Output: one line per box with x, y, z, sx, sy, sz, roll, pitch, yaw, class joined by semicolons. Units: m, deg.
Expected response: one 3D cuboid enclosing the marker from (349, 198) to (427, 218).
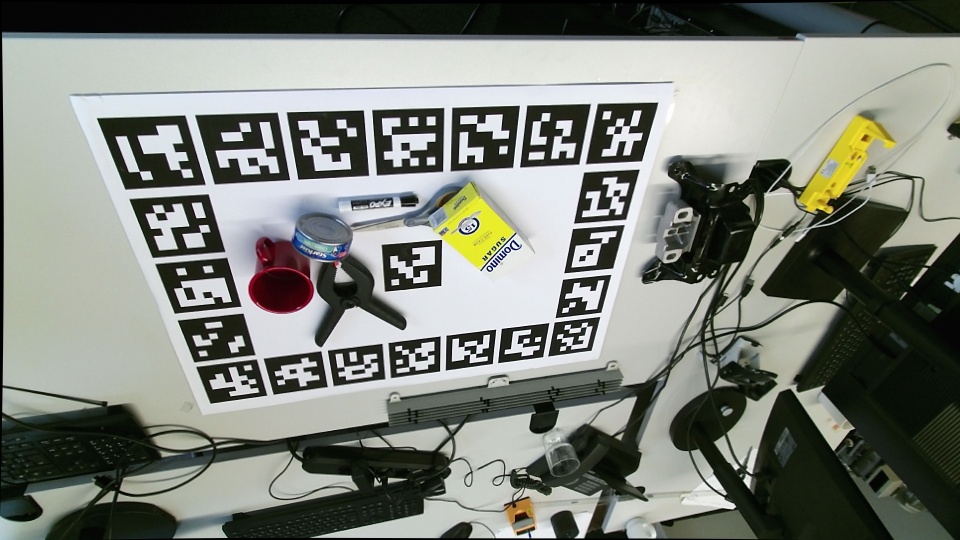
-0.144;-0.099;0.845;0.121;0.019;0.019;-8;126;-11;marker

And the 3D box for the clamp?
-0.223;0.053;0.933;0.166;0.036;0.203;-13;126;-6;clamp

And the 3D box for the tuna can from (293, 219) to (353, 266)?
-0.238;-0.043;0.816;0.086;0.085;0.034;10;121;-22;tuna can

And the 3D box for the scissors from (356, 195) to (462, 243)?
-0.101;-0.068;0.877;0.203;0.016;0.088;-13;131;-5;scissors

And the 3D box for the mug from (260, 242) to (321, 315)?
-0.300;0.003;0.838;0.093;0.081;0.117;-27;131;4;mug

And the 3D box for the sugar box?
0.005;-0.049;0.901;0.093;0.045;0.177;-35;133;10;sugar box
